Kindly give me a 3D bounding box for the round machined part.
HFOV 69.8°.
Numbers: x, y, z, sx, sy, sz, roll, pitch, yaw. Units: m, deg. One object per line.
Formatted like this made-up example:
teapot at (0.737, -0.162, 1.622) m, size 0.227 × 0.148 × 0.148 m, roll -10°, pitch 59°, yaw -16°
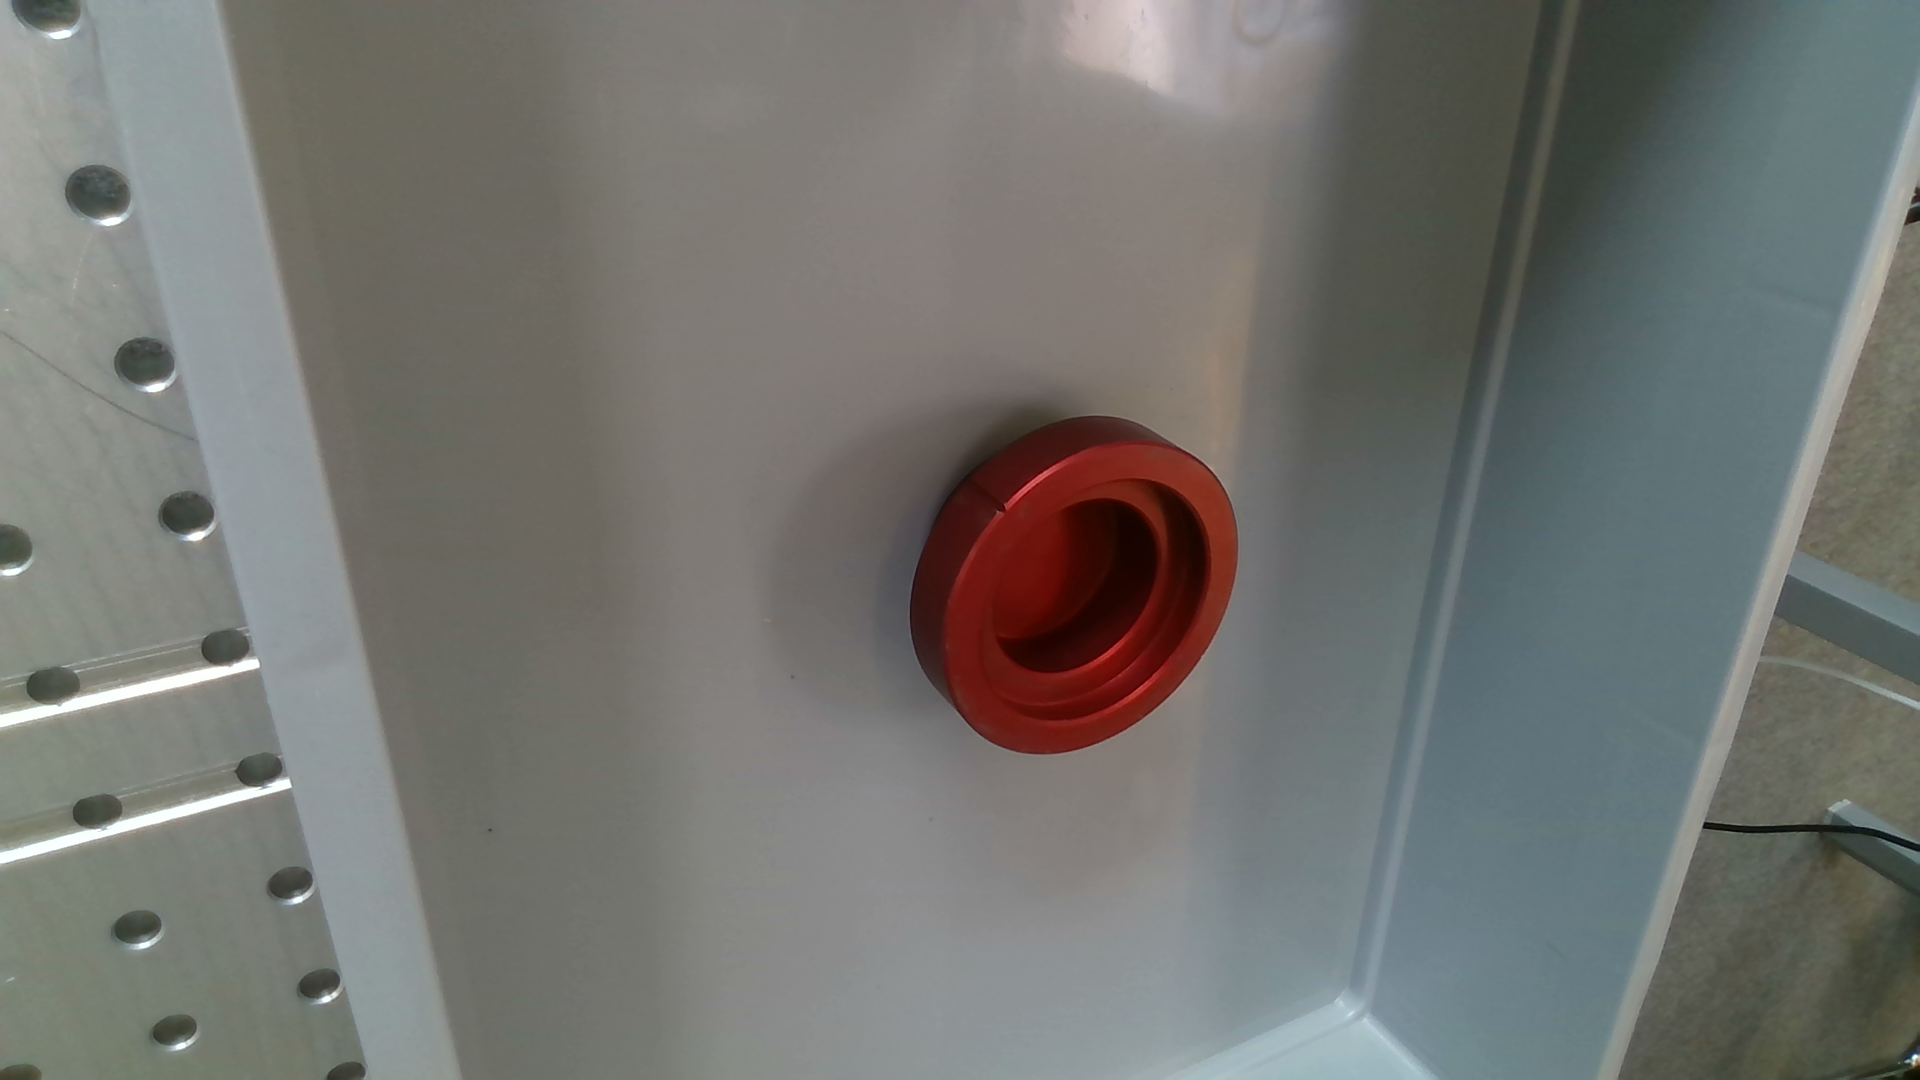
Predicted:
round machined part at (0.029, 0.010, 0.397) m, size 0.098 × 0.042 × 0.098 m, roll -14°, pitch 122°, yaw -25°
